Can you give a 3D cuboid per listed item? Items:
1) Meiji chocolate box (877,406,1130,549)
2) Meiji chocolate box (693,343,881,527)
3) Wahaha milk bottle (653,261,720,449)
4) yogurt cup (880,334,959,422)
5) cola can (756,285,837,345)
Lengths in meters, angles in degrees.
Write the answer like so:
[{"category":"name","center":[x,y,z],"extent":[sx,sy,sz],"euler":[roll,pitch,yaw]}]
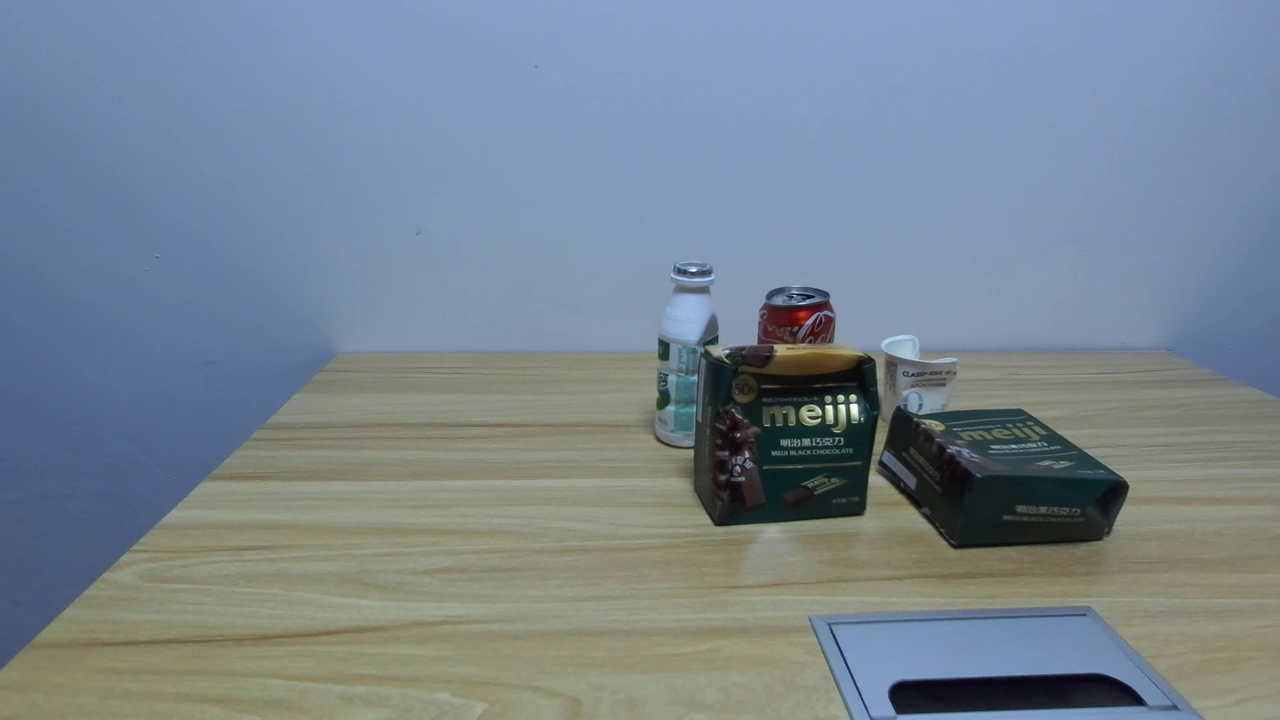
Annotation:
[{"category":"Meiji chocolate box","center":[0.249,0.079,0.496],"extent":[0.116,0.058,0.122],"euler":[1,20,-9]},{"category":"Meiji chocolate box","center":[0.100,0.047,0.485],"extent":[0.117,0.117,0.051],"euler":[-2,12,-9]},{"category":"Wahaha milk bottle","center":[0.040,-0.003,0.567],"extent":[0.056,0.147,0.056],"euler":[2,16,0]},{"category":"yogurt cup","center":[0.241,0.023,0.624],"extent":[0.067,0.070,0.067],"euler":[1,22,0]},{"category":"cola can","center":[0.136,-0.002,0.615],"extent":[0.065,0.117,0.072],"euler":[-3,20,-14]}]
